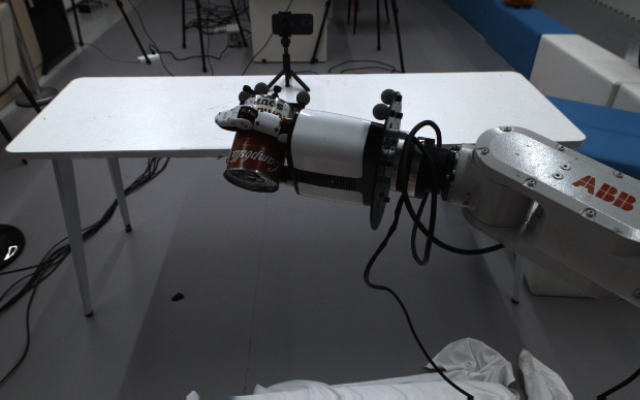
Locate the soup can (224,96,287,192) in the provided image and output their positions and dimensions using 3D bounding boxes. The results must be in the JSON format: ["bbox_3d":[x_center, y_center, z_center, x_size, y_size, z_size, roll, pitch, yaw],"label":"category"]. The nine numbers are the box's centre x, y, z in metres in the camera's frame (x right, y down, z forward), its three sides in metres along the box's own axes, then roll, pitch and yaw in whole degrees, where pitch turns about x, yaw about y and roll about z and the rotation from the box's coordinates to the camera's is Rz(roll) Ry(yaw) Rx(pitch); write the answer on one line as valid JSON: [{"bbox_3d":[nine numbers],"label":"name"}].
[{"bbox_3d":[-0.071,-0.068,0.585,0.067,0.067,0.101,9,69,10],"label":"soup can"}]
